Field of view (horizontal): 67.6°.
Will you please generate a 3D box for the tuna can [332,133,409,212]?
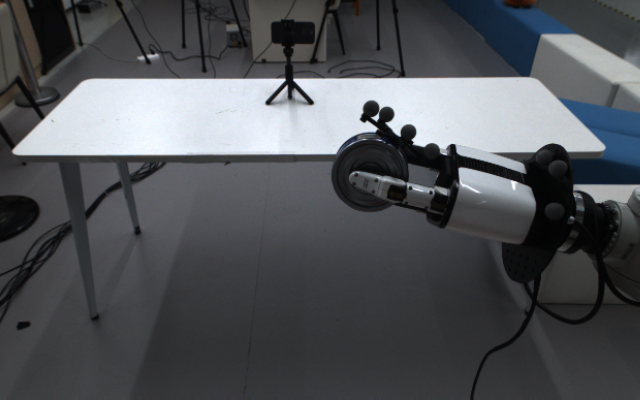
[{"bbox_3d":[0.060,-0.025,0.538,0.085,0.085,0.034,7,19,6],"label":"tuna can"}]
